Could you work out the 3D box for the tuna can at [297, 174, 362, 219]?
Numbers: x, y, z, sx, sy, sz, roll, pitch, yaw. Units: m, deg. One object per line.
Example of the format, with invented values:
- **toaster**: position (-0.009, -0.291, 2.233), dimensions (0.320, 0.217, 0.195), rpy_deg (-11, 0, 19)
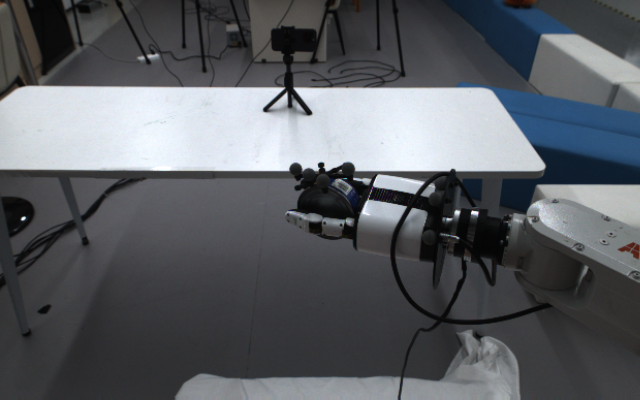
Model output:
- **tuna can**: position (0.015, 0.009, 0.668), dimensions (0.085, 0.085, 0.034), rpy_deg (17, 36, 20)
